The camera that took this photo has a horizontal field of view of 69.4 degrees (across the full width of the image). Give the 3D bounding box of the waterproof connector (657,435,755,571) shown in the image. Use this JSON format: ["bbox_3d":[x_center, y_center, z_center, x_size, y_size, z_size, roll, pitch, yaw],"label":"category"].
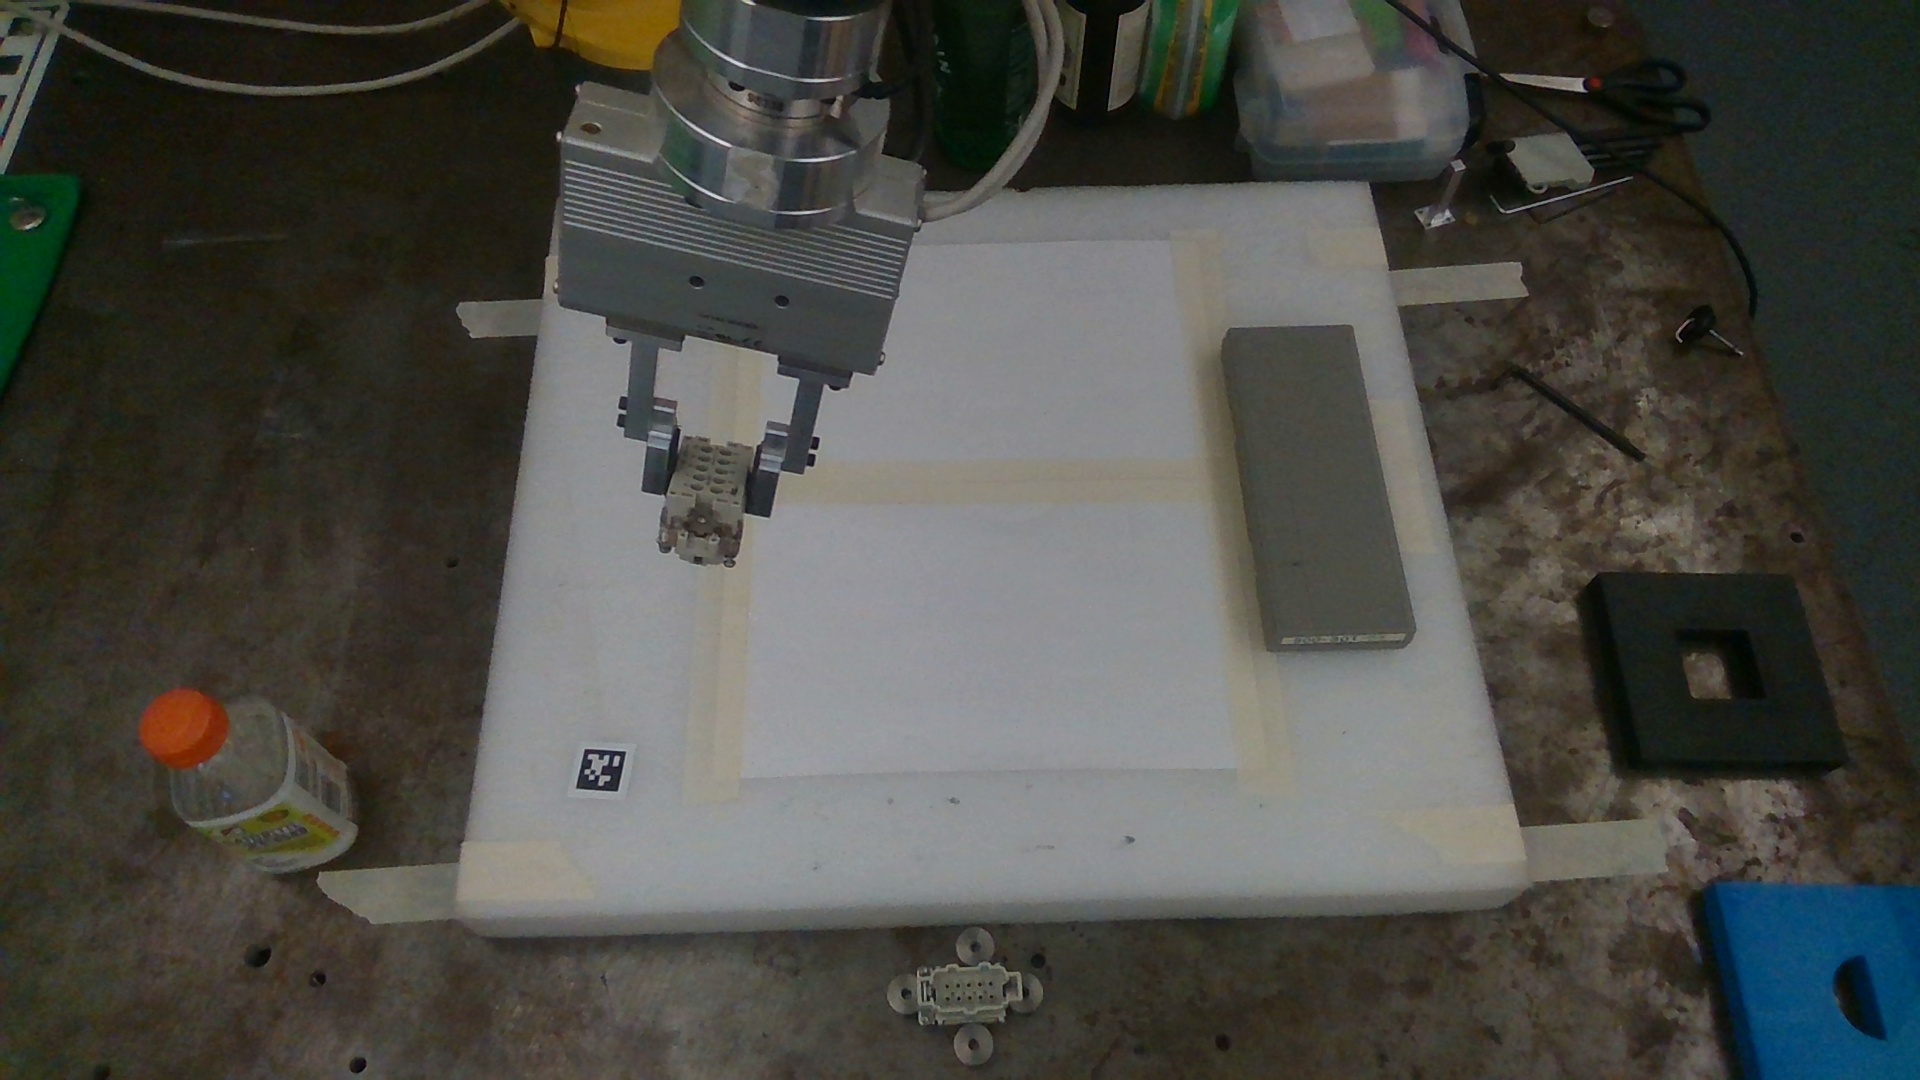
[{"bbox_3d":[-0.111,-0.016,0.604,0.036,0.038,0.069,9,35,-11],"label":"waterproof connector"}]
